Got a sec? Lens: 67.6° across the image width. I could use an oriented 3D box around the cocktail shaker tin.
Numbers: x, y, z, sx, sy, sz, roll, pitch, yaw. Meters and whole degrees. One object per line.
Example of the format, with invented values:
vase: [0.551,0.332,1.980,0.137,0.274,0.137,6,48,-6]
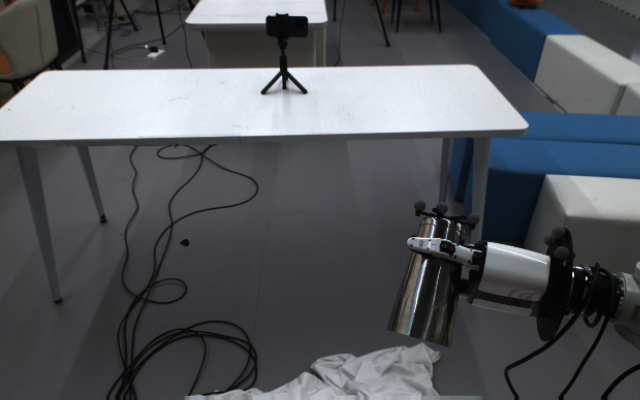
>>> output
cocktail shaker tin: [0.164,0.112,0.699,0.093,0.093,0.170,13,77,15]
